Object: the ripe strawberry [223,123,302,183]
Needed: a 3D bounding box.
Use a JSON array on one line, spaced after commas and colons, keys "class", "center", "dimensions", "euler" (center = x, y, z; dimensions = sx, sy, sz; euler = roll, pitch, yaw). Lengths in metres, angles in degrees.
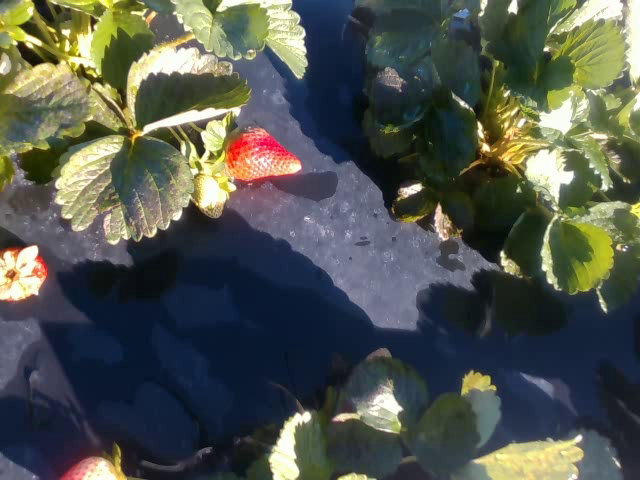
[{"class": "ripe strawberry", "center": [-0.041, -0.059, 0.432], "dimensions": [0.064, 0.050, 0.052], "euler": [14, 13, -4]}]
